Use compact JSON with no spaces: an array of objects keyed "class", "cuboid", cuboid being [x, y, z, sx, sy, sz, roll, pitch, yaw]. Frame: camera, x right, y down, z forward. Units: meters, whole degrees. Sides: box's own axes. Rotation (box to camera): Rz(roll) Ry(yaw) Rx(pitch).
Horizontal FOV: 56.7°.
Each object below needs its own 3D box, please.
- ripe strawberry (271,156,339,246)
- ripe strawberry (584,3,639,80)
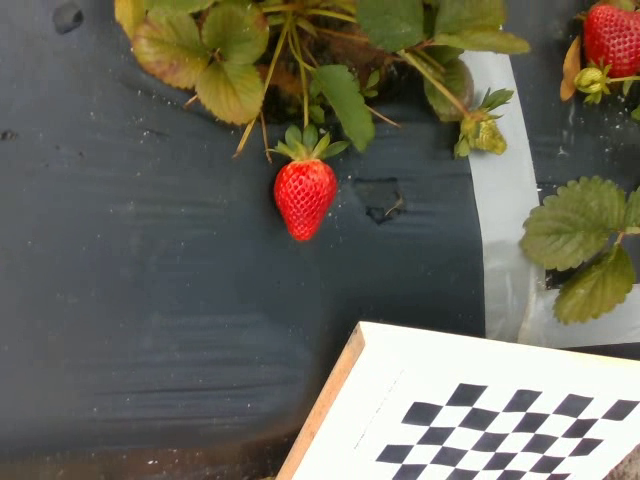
[{"class":"ripe strawberry","cuboid":[-0.006,-0.022,0.297,0.036,0.046,0.040,5,-9,-2]},{"class":"ripe strawberry","cuboid":[0.185,-0.127,0.362,0.062,0.043,0.042,34,31,-22]}]
